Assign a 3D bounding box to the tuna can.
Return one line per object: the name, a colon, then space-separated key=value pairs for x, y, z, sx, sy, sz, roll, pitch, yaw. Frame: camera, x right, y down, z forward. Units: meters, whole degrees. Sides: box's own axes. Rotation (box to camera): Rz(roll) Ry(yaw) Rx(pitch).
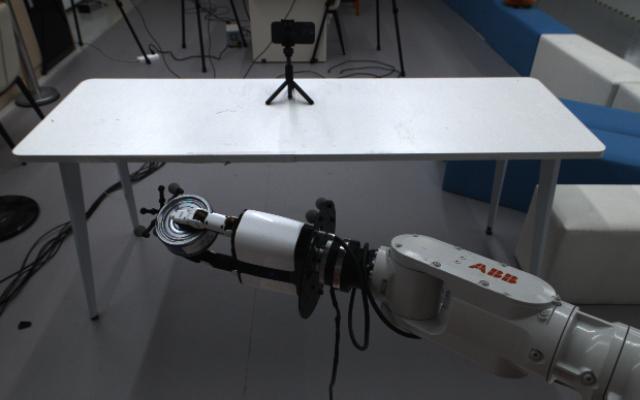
tuna can: x=-0.187 y=0.035 z=0.689 sx=0.085 sy=0.034 sz=0.085 roll=-4 pitch=60 yaw=6
